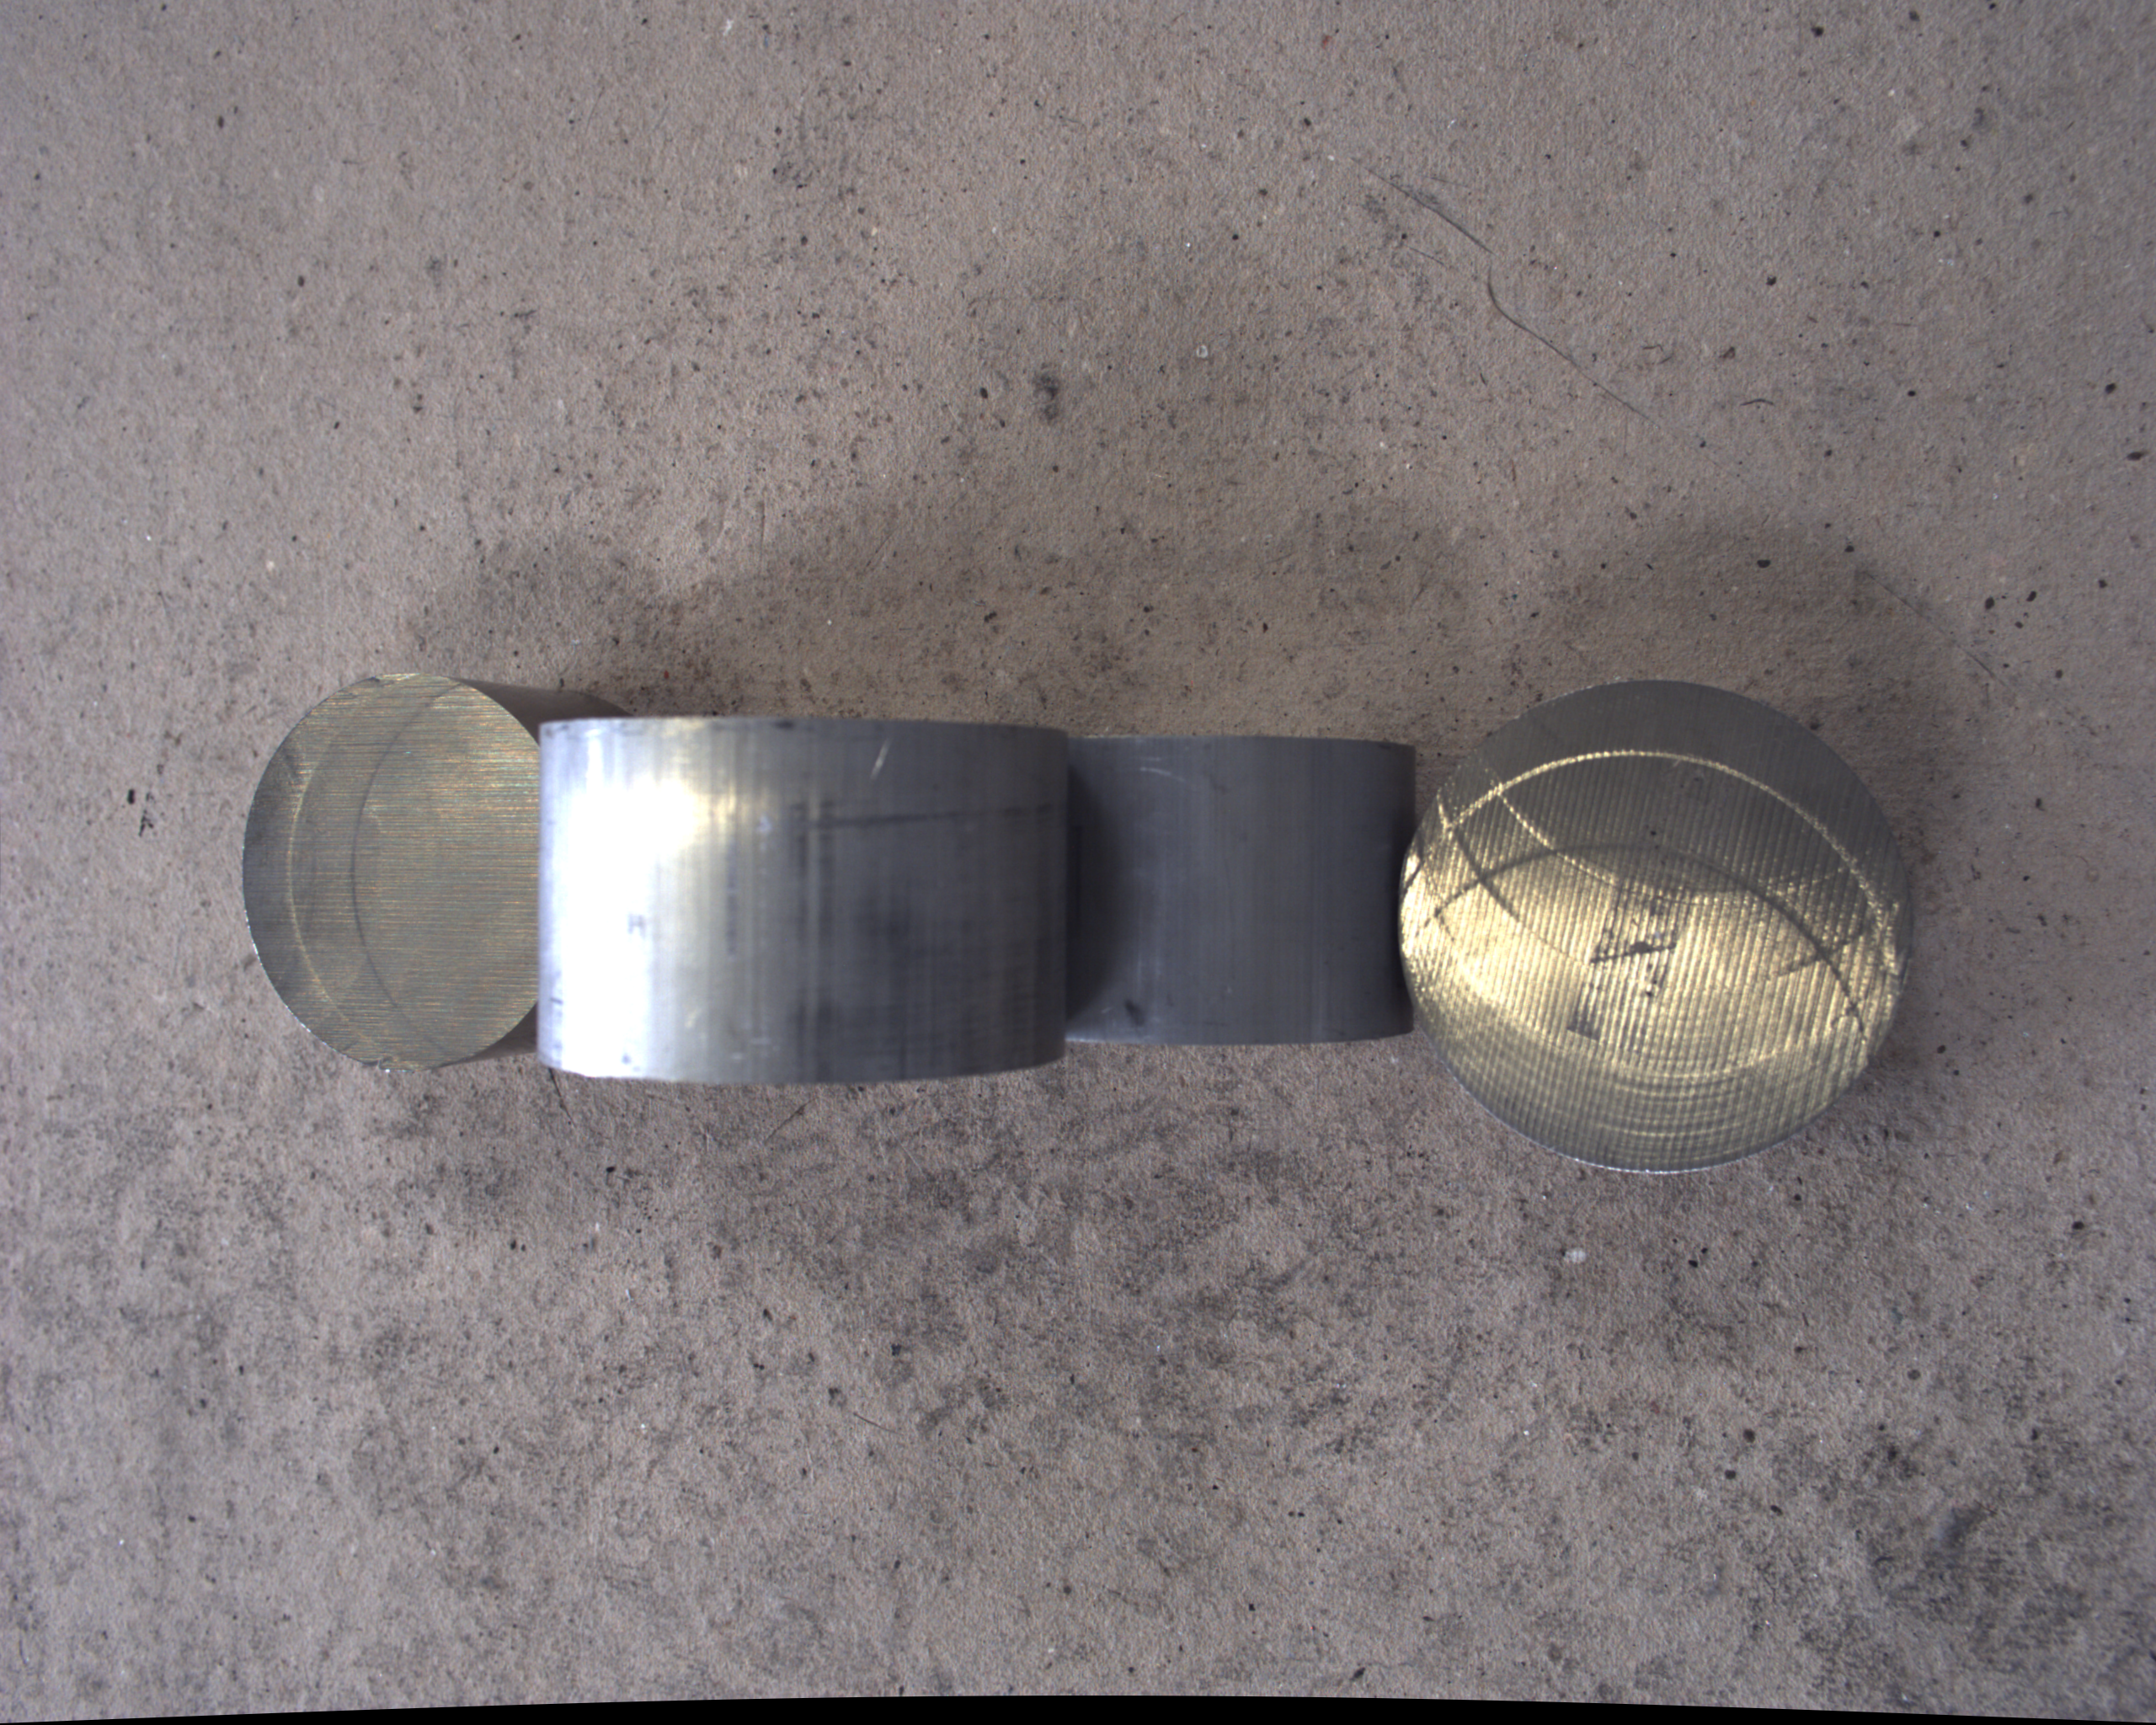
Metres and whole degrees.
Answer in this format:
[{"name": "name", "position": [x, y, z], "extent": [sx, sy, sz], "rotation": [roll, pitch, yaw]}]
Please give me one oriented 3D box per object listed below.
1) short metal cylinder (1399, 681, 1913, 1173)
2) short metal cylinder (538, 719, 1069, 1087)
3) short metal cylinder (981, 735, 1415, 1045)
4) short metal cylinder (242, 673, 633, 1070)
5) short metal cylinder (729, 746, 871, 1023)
[{"name": "short metal cylinder", "position": [0.100, 0.010, 0.361], "extent": [0.080, 0.050, 0.080], "rotation": [0, 91, 19]}, {"name": "short metal cylinder", "position": [-0.042, 0.004, 0.322], "extent": [0.080, 0.080, 0.050], "rotation": [1, 92, 20]}, {"name": "short metal cylinder", "position": [0.020, 0.005, 0.374], "extent": [0.080, 0.080, 0.050], "rotation": [0, 90, 20]}, {"name": "short metal cylinder", "position": [-0.126, 0.002, 0.441], "extent": [0.080, 0.050, 0.080], "rotation": [0, 90, 19]}, {"name": "short metal cylinder", "position": [-0.056, 0.003, 0.401], "extent": [0.080, 0.080, 0.050], "rotation": [0, 90, 20]}]
